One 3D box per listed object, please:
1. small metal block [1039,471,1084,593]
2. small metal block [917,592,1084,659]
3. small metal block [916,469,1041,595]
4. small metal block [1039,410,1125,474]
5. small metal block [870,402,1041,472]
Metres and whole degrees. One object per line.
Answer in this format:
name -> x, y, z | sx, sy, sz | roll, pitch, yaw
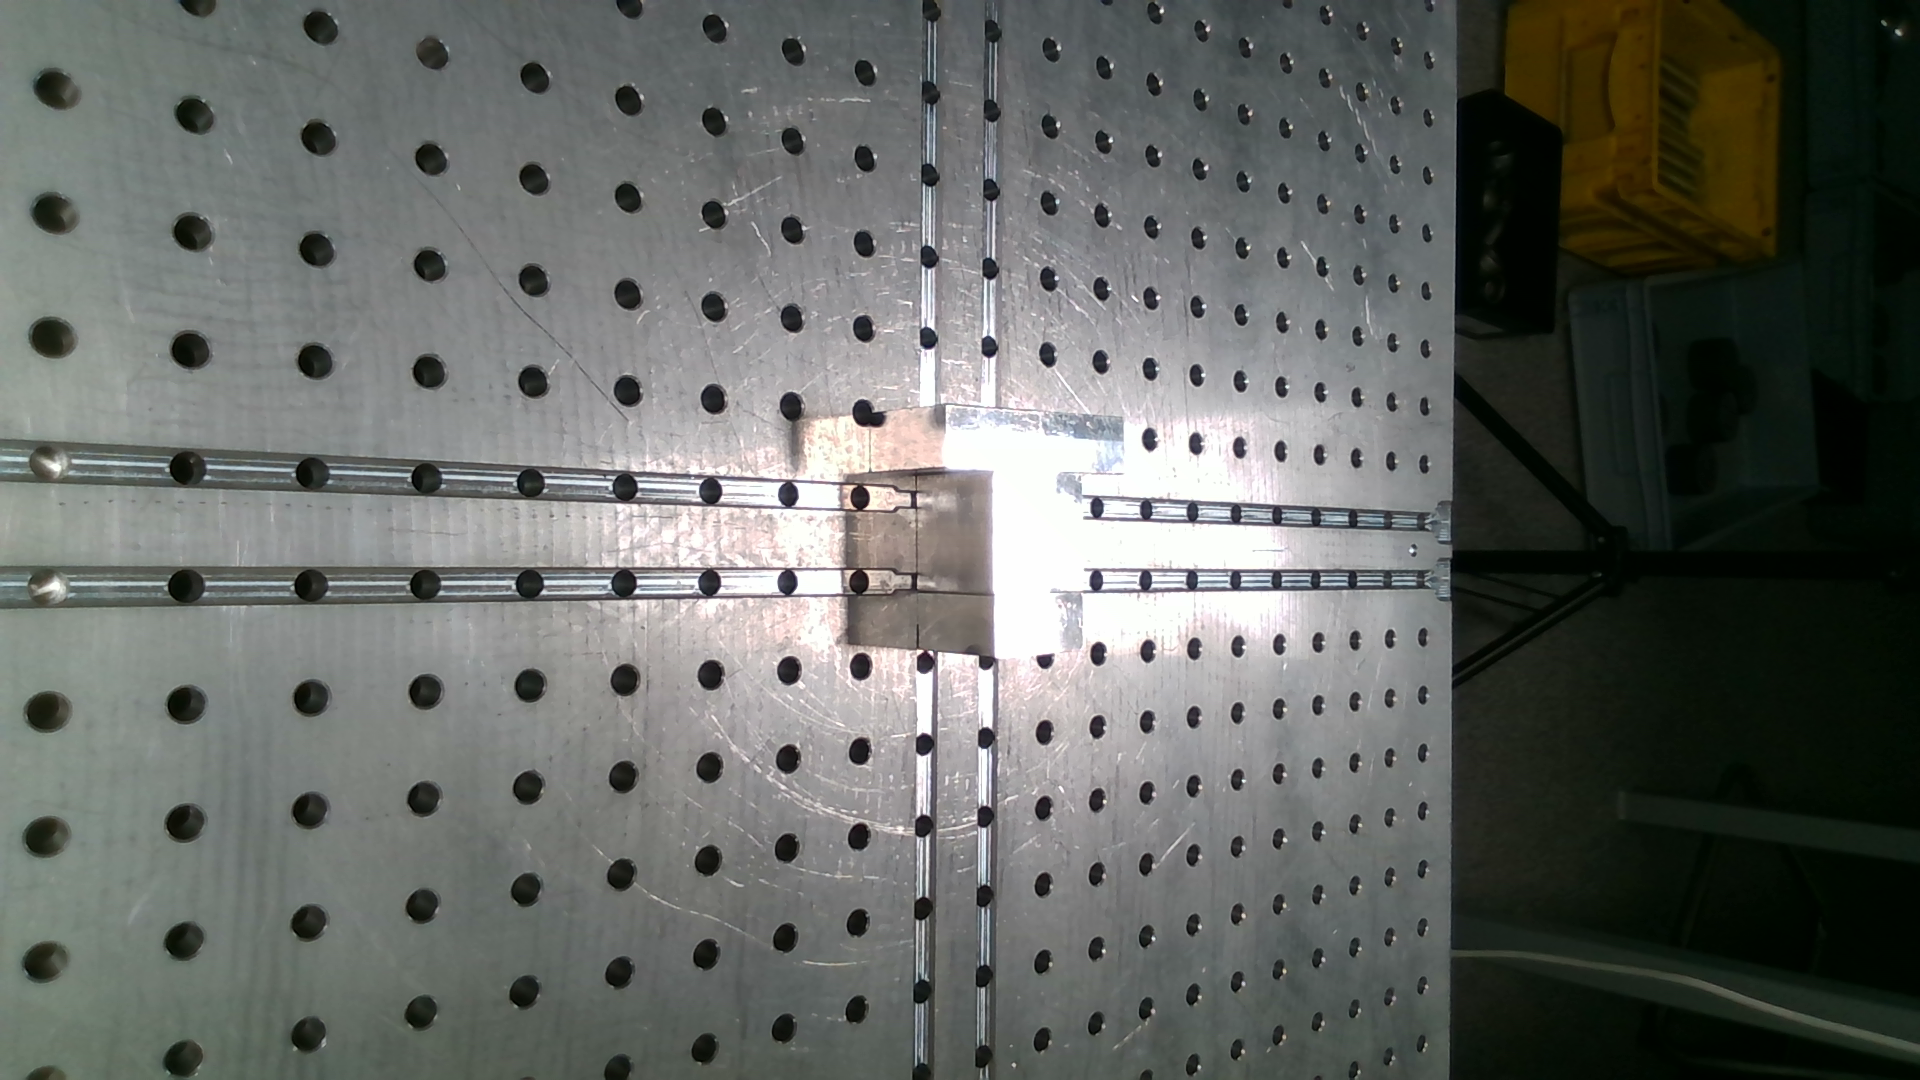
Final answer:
small metal block -> 0.027, -0.003, 0.591 | 0.025, 0.050, 0.050 | -1, 90, -40
small metal block -> 0.017, 0.035, 0.583 | 0.050, 0.050, 0.025 | 0, 90, -40
small metal block -> 0.007, -0.003, 0.575 | 0.025, 0.050, 0.050 | -1, 90, -40
small metal block -> 0.036, -0.041, 0.599 | 0.050, 0.050, 0.025 | 0, 90, -40
small metal block -> -0.002, -0.041, 0.567 | 0.050, 0.050, 0.025 | 0, 90, -40
